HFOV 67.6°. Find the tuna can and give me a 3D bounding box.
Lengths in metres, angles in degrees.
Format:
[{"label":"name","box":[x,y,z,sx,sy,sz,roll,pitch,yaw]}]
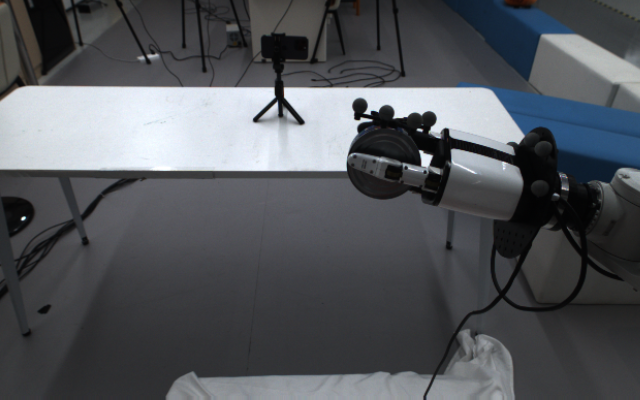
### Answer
[{"label":"tuna can","box":[0.076,-0.049,0.573,0.085,0.085,0.034,5,18,4]}]
